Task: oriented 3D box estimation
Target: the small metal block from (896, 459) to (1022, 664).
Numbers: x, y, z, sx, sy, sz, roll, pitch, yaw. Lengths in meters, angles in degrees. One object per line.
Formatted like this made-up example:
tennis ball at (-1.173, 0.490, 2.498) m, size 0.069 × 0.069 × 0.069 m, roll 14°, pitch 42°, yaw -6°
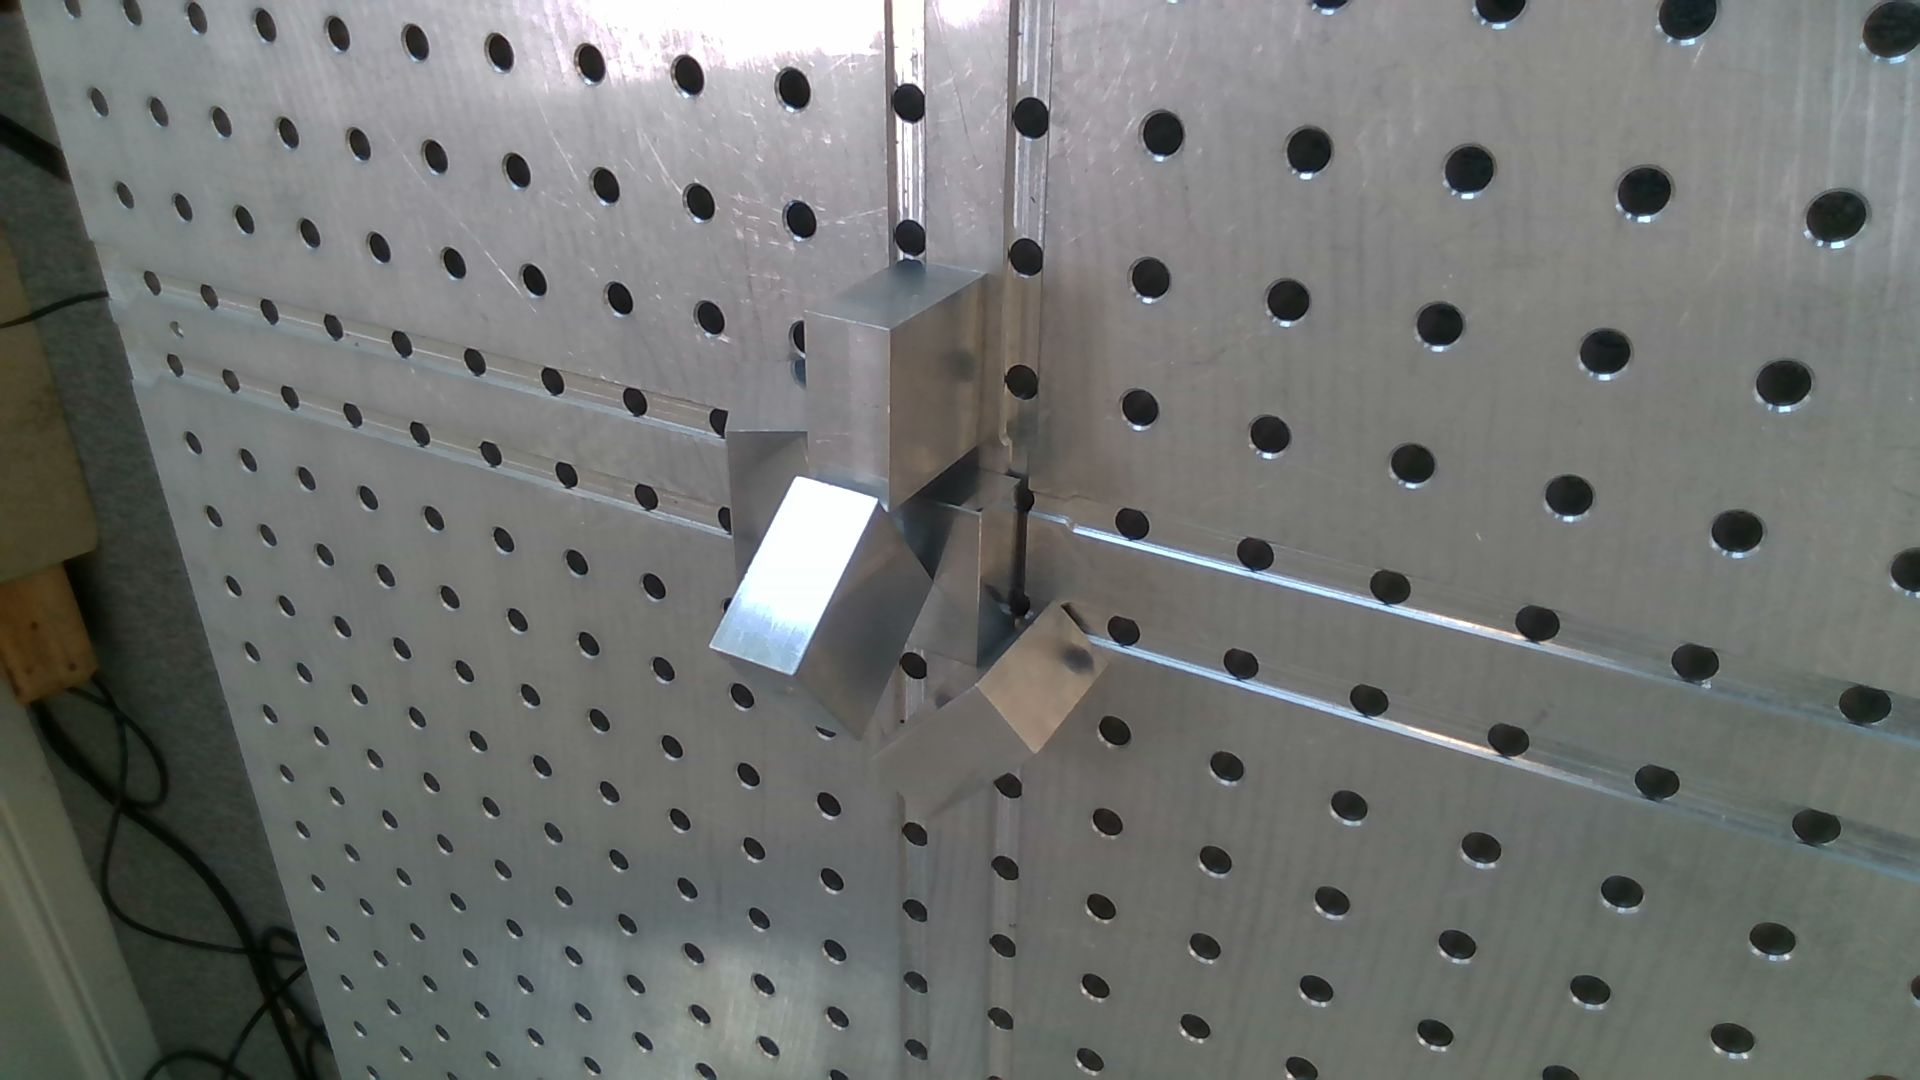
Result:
small metal block at (-0.011, 0.003, 0.399) m, size 0.050 × 0.025 × 0.050 m, roll 16°, pitch 123°, yaw 24°

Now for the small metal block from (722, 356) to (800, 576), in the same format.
small metal block at (-0.051, -0.020, 0.393) m, size 0.025 × 0.050 × 0.050 m, roll -1°, pitch 119°, yaw -3°

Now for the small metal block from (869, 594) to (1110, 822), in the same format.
small metal block at (0.009, 0.048, 0.396) m, size 0.025 × 0.050 × 0.050 m, roll 49°, pitch 130°, yaw -1°

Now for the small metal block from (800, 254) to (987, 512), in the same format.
small metal block at (-0.017, -0.042, 0.362) m, size 0.025 × 0.050 × 0.050 m, roll 16°, pitch 122°, yaw 24°

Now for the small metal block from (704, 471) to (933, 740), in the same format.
small metal block at (-0.035, 0.018, 0.361) m, size 0.025 × 0.050 × 0.050 m, roll 17°, pitch 160°, yaw 24°
